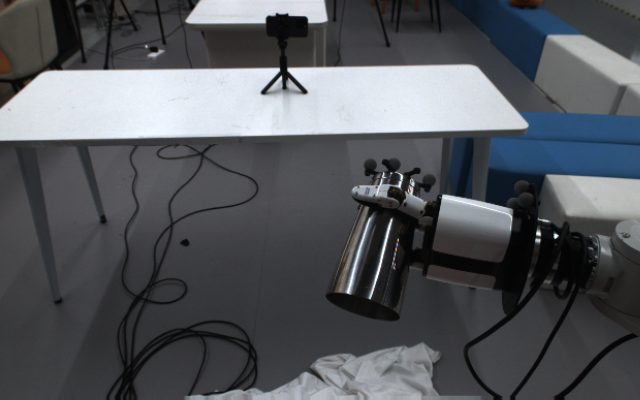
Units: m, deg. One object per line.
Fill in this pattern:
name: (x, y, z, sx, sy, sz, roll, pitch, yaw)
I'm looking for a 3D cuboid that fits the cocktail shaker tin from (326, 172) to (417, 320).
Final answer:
cocktail shaker tin: (0.078, 0.049, 0.601, 0.093, 0.093, 0.170, 12, 65, 14)
